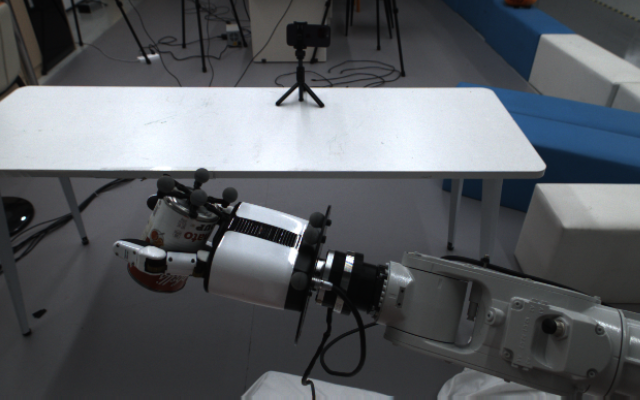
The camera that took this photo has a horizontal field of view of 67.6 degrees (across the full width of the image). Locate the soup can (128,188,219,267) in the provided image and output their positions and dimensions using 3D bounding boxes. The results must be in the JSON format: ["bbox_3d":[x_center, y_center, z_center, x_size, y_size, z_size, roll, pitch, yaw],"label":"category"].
[{"bbox_3d":[-0.159,0.044,0.533,0.067,0.101,0.067,28,18,-10],"label":"soup can"}]
